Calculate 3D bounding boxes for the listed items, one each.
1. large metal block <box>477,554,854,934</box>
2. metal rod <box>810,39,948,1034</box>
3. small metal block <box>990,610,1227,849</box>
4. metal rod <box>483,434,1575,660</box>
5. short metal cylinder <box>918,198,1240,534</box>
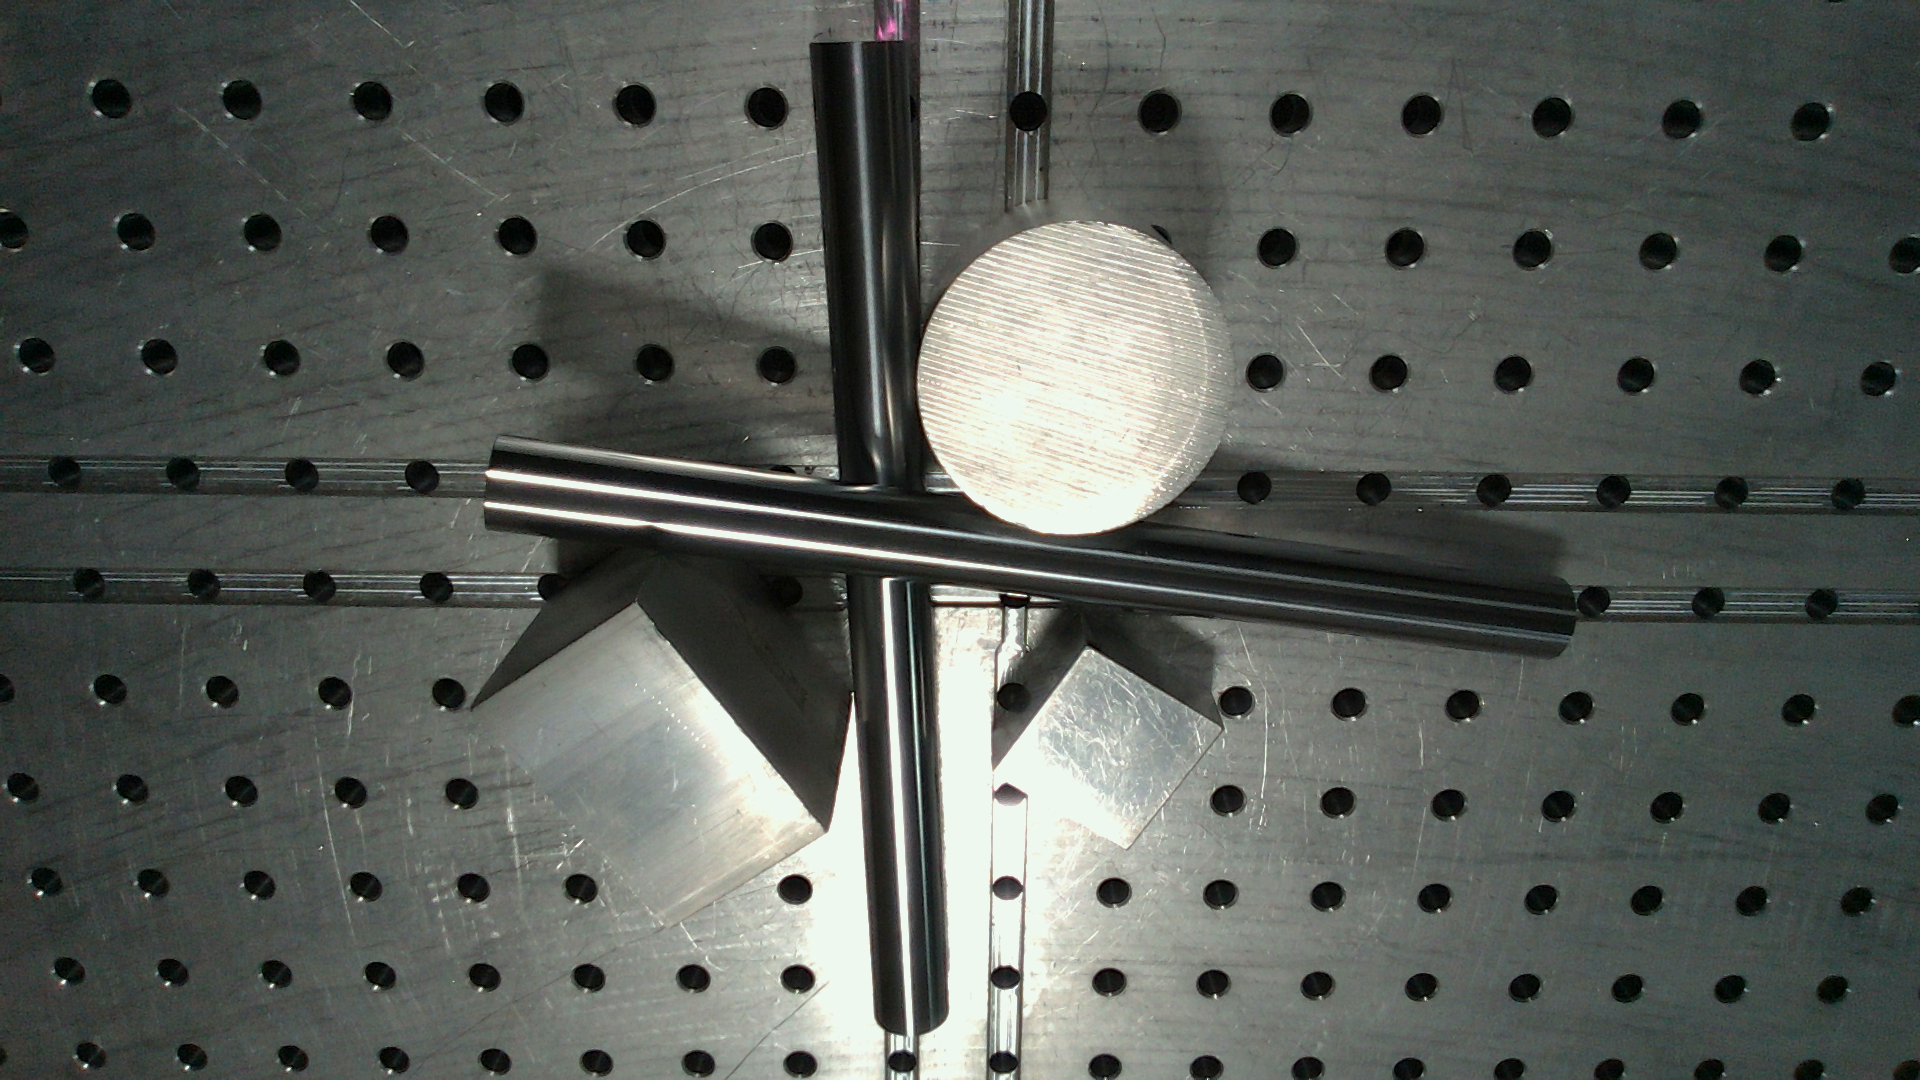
[{"bbox_3d":[-0.075,0.045,0.382,0.050,0.080,0.080,-33,107,11],"label":"large metal block"},{"bbox_3d":[-0.021,0.014,0.401,0.025,0.025,0.300,-2,110,1],"label":"metal rod"},{"bbox_3d":[0.044,0.058,0.419,0.050,0.025,0.050,31,107,-11],"label":"small metal block"},{"bbox_3d":[0.028,0.004,0.378,0.300,0.025,0.025,7,110,-11],"label":"metal rod"},{"bbox_3d":[0.030,-0.048,0.365,0.080,0.050,0.080,0,110,0],"label":"short metal cylinder"}]
